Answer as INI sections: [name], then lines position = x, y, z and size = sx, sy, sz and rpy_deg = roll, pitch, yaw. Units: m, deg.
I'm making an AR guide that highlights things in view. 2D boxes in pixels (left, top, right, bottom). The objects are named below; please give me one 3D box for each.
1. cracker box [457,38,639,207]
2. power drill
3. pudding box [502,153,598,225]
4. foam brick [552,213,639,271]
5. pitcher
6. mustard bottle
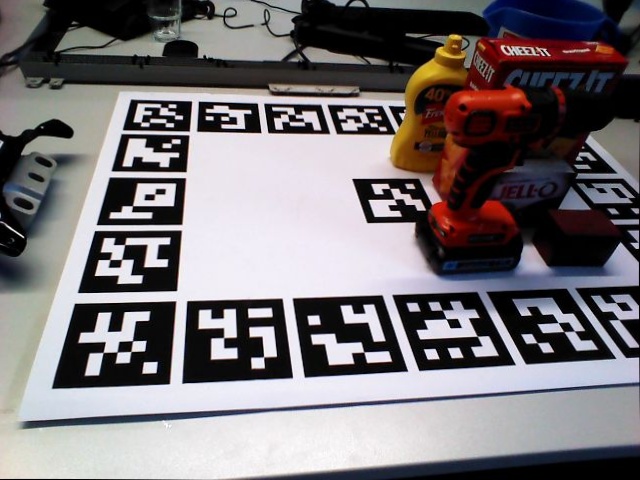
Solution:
[cracker box]
position = 0.281, -0.136, 0.655
size = 0.164, 0.214, 0.071
rpy_deg = -4, 42, -7
[power drill]
position = 0.225, -0.073, 0.556
size = 0.184, 0.188, 0.057
rpy_deg = -1, 40, -9
[pudding box]
position = 0.275, -0.064, 0.655
size = 0.114, 0.090, 0.038
rpy_deg = -2, 42, -5
[foam brick]
position = 0.336, 0.003, 0.638
size = 0.078, 0.051, 0.052
rpy_deg = 1, 44, -6
[pitcher]
position = 0.318, -0.209, 0.731
size = 0.189, 0.243, 0.132
rpy_deg = 2, 43, -1
[mustard bottle]
position = 0.185, -0.199, 0.722
size = 0.096, 0.192, 0.058
rpy_deg = 8, 44, 2
